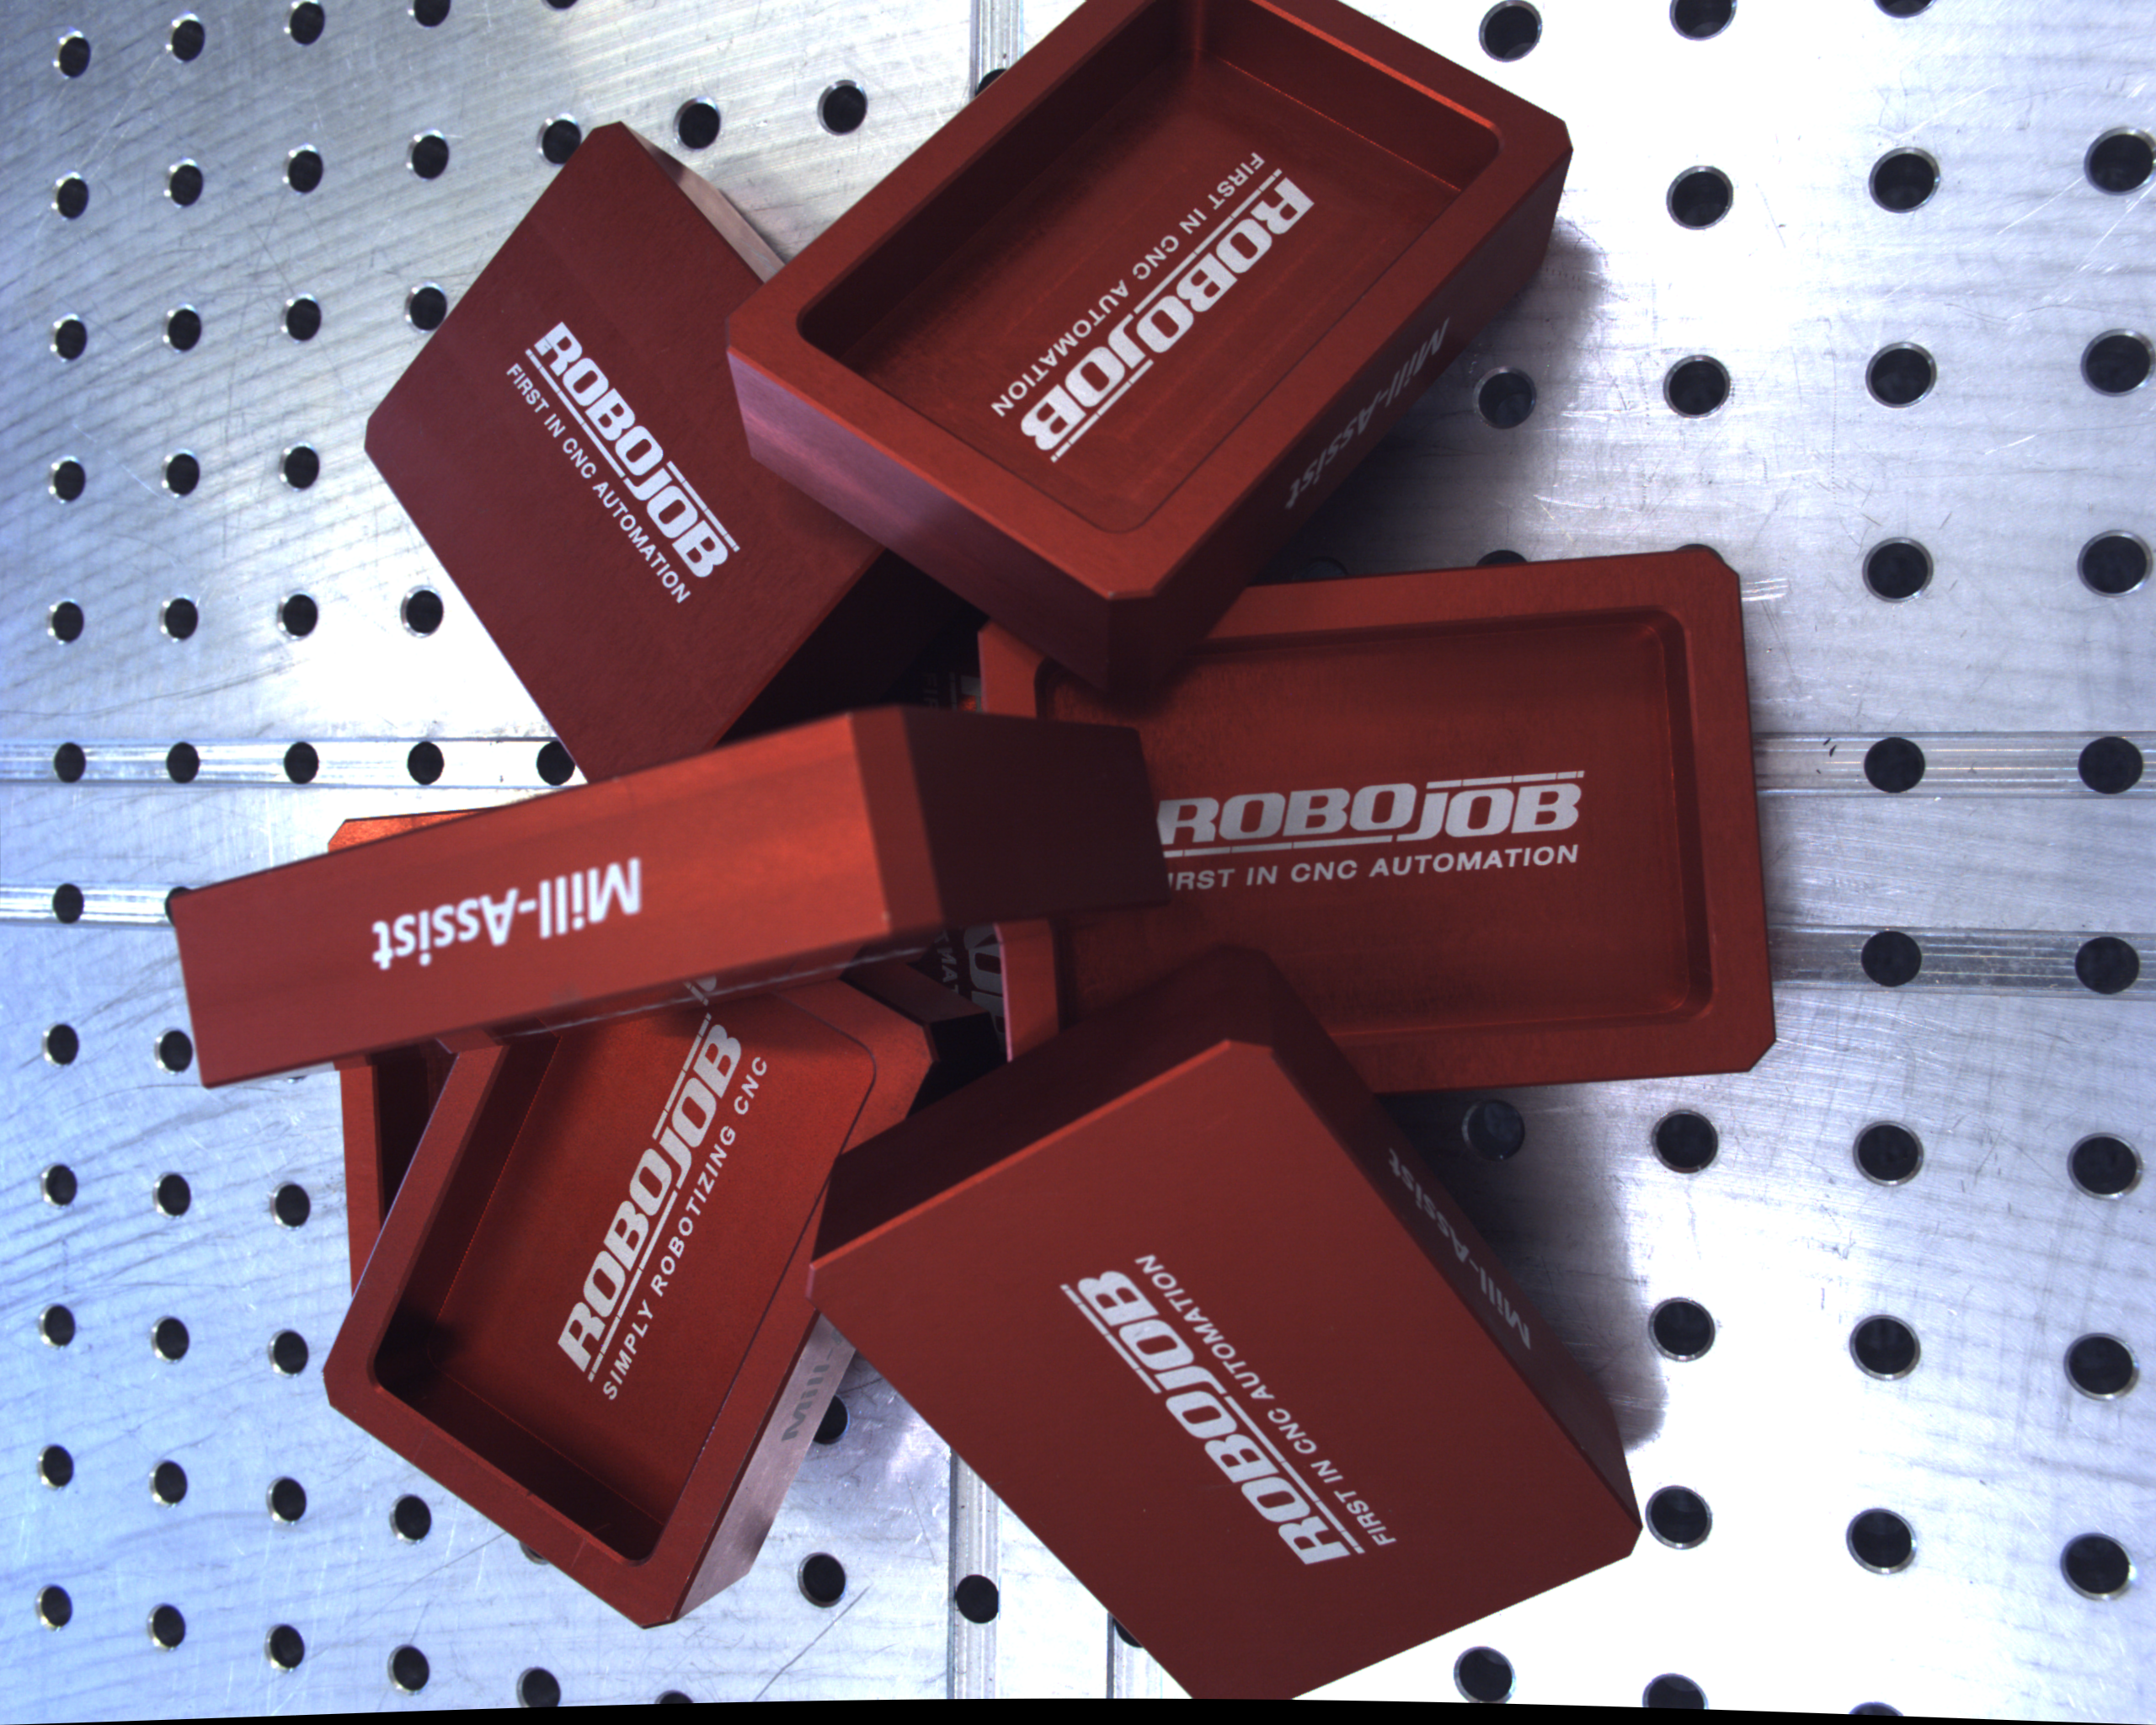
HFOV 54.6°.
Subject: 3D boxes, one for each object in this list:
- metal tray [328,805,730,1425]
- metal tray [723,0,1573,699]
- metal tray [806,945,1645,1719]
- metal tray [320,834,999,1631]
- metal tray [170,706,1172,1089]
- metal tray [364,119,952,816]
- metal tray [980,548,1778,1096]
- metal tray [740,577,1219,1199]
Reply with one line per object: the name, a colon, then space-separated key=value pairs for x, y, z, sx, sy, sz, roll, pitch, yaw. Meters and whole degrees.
metal tray: x=-0.112 y=0.052 z=0.450 sx=0.090 sy=0.030 sz=0.129 roll=-4 pitch=88 yaw=19
metal tray: x=0.014 y=-0.101 z=0.370 sx=0.090 sy=0.030 sz=0.130 roll=35 pitch=68 yaw=17
metal tray: x=0.027 y=0.087 z=0.365 sx=0.090 sy=0.030 sz=0.130 roll=-31 pitch=113 yaw=18
metal tray: x=-0.083 y=0.069 z=0.407 sx=0.090 sy=0.030 sz=0.129 roll=28 pitch=99 yaw=18
metal tray: x=-0.062 y=0.007 z=0.332 sx=0.130 sy=0.090 sz=0.030 roll=-13 pitch=86 yaw=24
metal tray: x=-0.084 y=-0.078 z=0.422 sx=0.090 sy=0.030 sz=0.130 roll=-47 pitch=60 yaw=14
metal tray: x=0.052 y=-0.005 z=0.372 sx=0.131 sy=0.030 sz=0.090 roll=-4 pitch=89 yaw=2
metal tray: x=-0.022 y=0.000 z=0.418 sx=0.090 sy=0.030 sz=0.129 roll=-5 pitch=86 yaw=18
